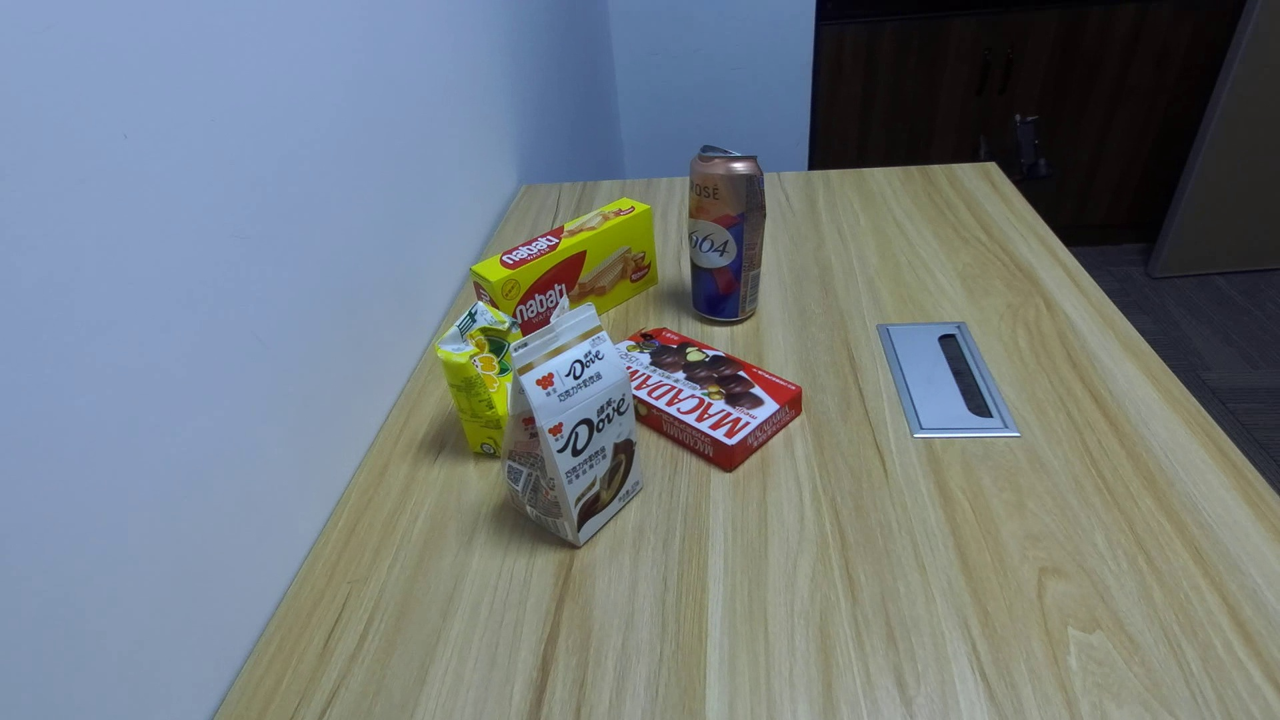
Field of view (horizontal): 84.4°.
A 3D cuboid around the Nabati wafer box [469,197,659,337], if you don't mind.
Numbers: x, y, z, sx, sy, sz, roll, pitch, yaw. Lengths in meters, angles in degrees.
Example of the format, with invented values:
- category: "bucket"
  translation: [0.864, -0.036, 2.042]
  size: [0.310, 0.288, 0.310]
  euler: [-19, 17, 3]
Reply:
- category: "Nabati wafer box"
  translation: [-0.067, -0.085, 0.719]
  size: [0.203, 0.093, 0.042]
  euler: [-31, 42, -30]

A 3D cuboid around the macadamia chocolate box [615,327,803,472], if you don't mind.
- category: "macadamia chocolate box"
  translation: [0.038, 0.021, 0.610]
  size: [0.186, 0.027, 0.103]
  euler: [27, 45, 36]

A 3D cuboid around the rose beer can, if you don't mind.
- category: "rose beer can"
  translation: [0.081, -0.118, 0.678]
  size: [0.069, 0.168, 0.070]
  euler: [-1, 30, 3]

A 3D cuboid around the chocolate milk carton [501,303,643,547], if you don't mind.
- category: "chocolate milk carton"
  translation: [-0.055, 0.041, 0.486]
  size: [0.072, 0.155, 0.084]
  euler: [23, 46, 34]

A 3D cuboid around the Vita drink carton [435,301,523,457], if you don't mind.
- category: "Vita drink carton"
  translation: [-0.114, 0.017, 0.569]
  size: [0.046, 0.110, 0.071]
  euler: [6, 39, 21]
